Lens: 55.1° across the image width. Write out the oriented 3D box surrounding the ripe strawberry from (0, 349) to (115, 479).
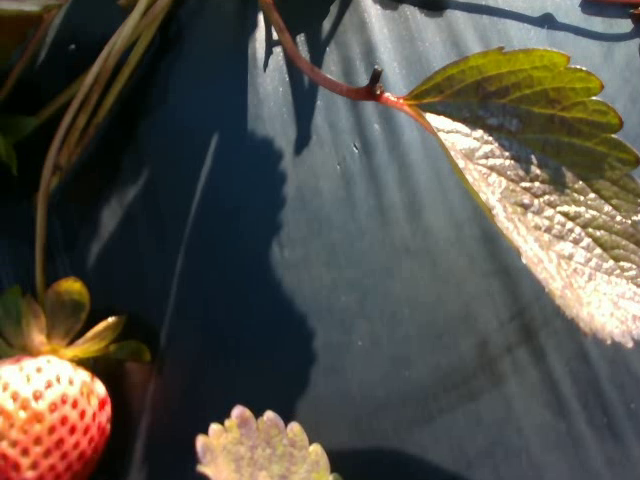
[{"bbox_3d":[-0.074,0.056,0.156,0.043,0.064,0.044,6,-22,-36],"label":"ripe strawberry"}]
